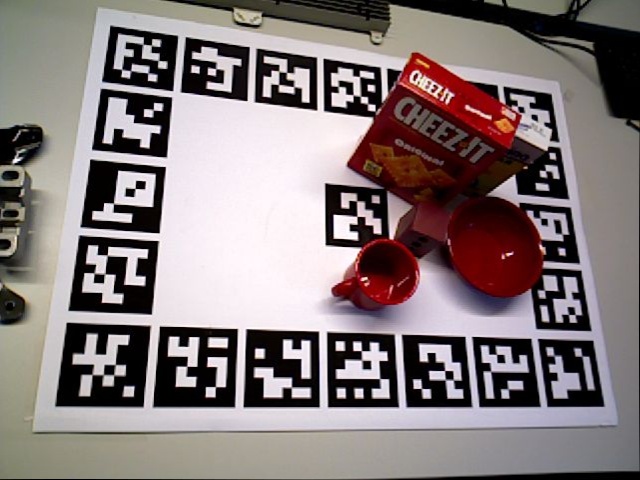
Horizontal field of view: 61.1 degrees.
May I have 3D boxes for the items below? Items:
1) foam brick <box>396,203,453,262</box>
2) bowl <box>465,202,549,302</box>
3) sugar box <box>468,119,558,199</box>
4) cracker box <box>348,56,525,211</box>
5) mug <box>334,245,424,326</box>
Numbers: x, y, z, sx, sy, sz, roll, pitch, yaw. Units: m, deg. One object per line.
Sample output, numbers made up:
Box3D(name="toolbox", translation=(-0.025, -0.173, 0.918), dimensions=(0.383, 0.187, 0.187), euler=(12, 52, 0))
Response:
Box3D(name="foam brick", translation=(0.150, -0.010, 0.788), dimensions=(0.052, 0.079, 0.050), euler=(19, 66, -7))
Box3D(name="bowl", translation=(0.269, 0.028, 0.801), dimensions=(0.160, 0.056, 0.160), euler=(4, 71, -13))
Box3D(name="sugar box", translation=(0.254, -0.128, 0.796), dimensions=(0.092, 0.180, 0.044), euler=(25, 65, -5))
Box3D(name="cracker box", translation=(0.152, -0.131, 0.751), dimensions=(0.164, 0.218, 0.071), euler=(33, 63, -2))
Box3D(name="mug", translation=(0.075, 0.067, 0.730), dimensions=(0.116, 0.083, 0.092), euler=(-5, 64, -15))
